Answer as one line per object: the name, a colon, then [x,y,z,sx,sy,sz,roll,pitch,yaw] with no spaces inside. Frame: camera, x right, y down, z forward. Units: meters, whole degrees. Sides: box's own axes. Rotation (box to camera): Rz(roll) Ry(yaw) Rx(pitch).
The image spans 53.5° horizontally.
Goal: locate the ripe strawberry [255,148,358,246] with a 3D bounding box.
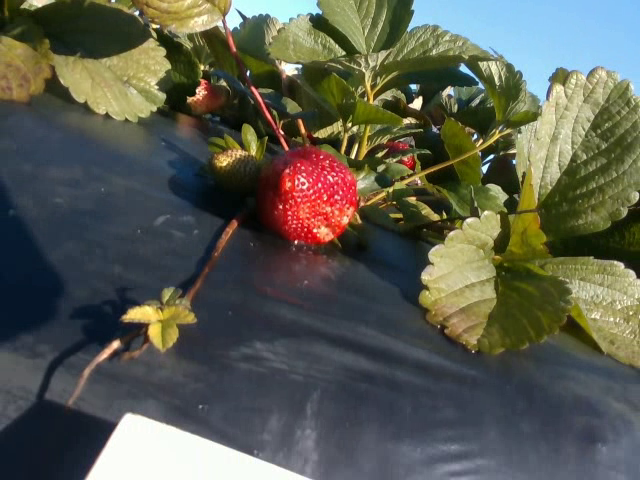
ripe strawberry: [-0.006,-0.016,0.215,0.041,0.043,0.053,32,-1,6]
